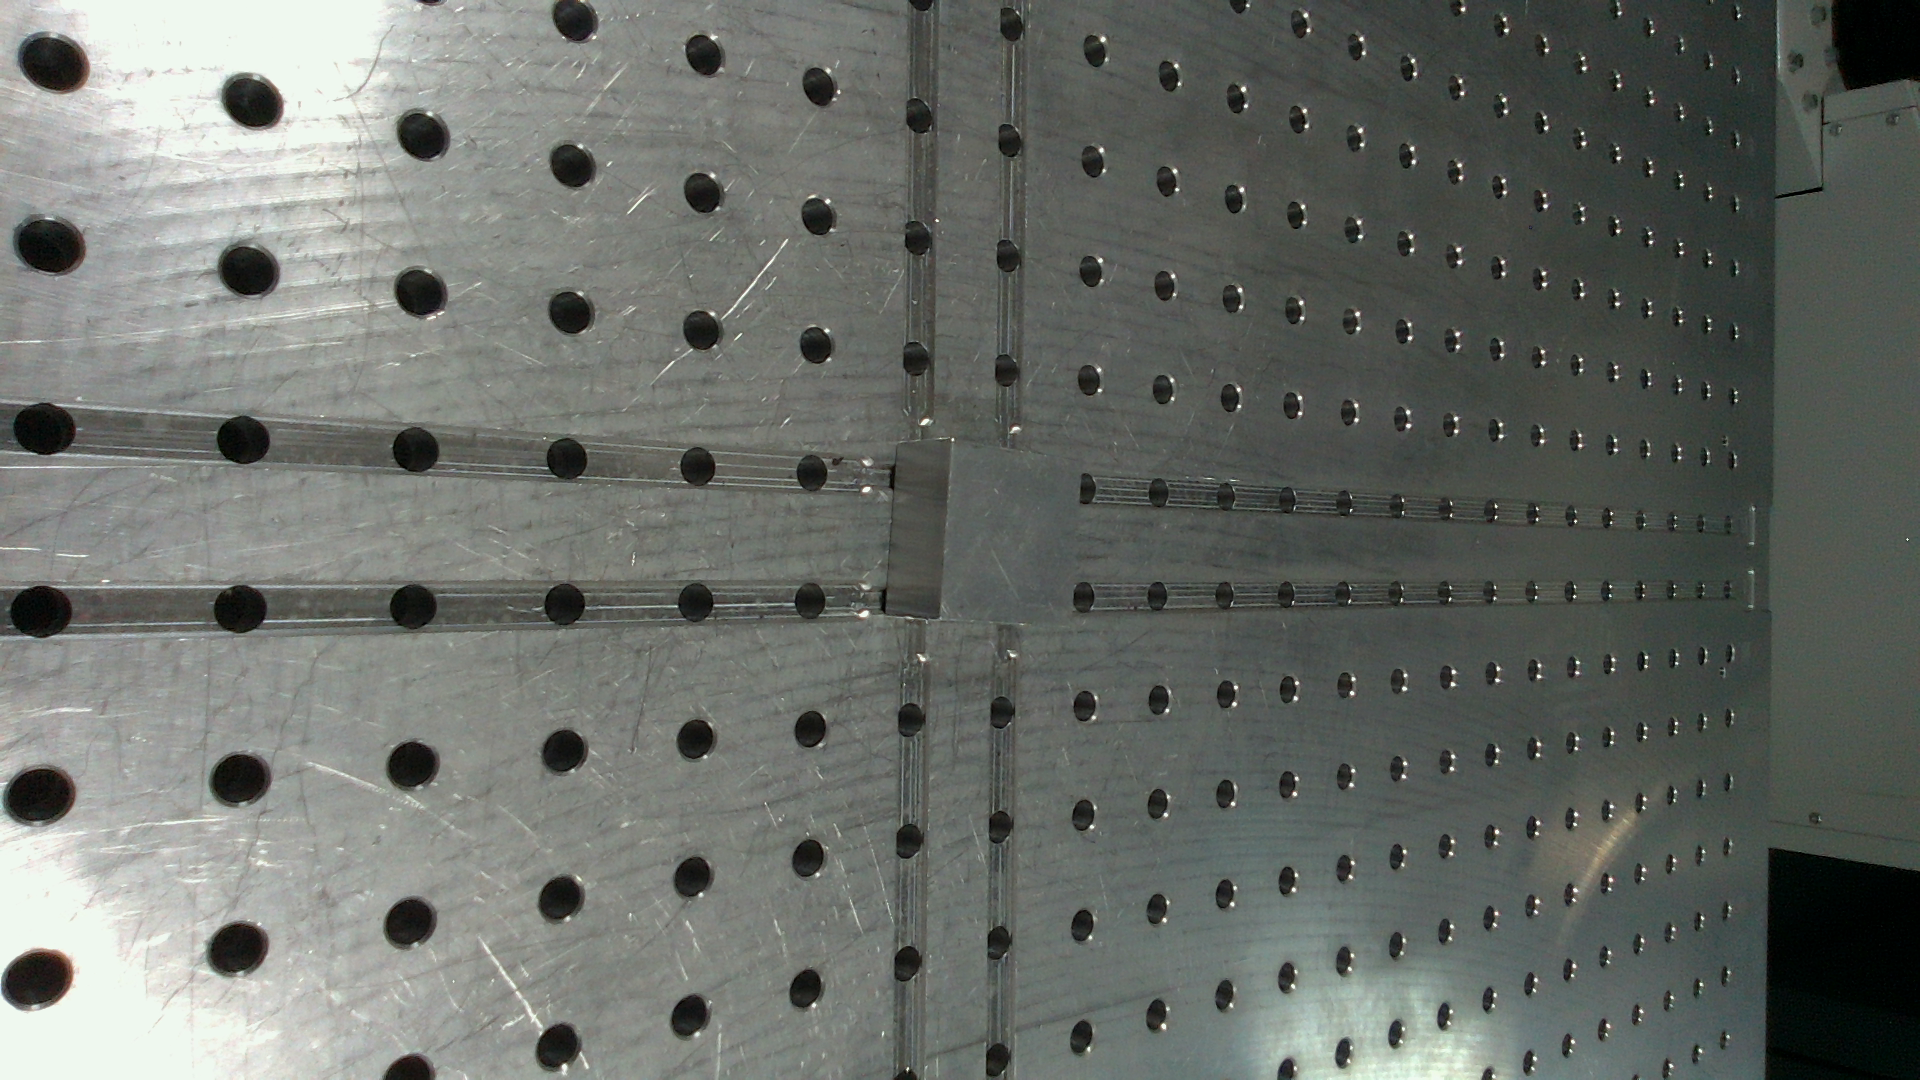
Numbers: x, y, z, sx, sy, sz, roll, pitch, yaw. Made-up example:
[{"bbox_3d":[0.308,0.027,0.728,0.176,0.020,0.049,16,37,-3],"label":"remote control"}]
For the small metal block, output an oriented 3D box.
[{"bbox_3d":[0.007,-0.001,0.397,0.050,0.025,0.050,6,86,-40],"label":"small metal block"}]
